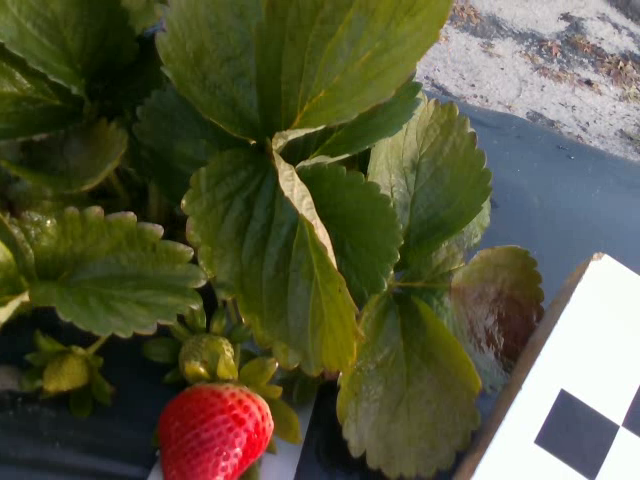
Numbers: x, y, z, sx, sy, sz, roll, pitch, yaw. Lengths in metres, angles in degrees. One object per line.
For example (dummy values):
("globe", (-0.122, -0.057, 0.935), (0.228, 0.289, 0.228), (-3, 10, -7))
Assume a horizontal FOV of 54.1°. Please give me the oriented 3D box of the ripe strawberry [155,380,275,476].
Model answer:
("ripe strawberry", (-0.033, 0.066, 0.193), (0.050, 0.055, 0.036), (33, -44, -2))
